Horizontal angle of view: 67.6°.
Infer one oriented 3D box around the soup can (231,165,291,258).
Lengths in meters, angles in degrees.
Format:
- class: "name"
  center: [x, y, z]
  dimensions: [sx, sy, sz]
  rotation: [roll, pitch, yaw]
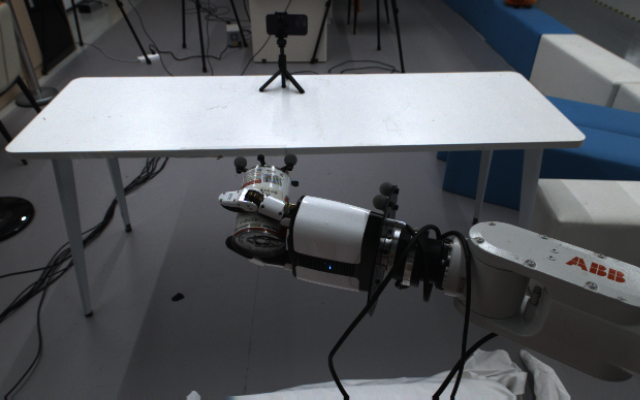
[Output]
- class: "soup can"
  center: [-0.073, 0.015, 0.623]
  dimensions: [0.067, 0.067, 0.101]
  rotation: [3, 58, 1]
